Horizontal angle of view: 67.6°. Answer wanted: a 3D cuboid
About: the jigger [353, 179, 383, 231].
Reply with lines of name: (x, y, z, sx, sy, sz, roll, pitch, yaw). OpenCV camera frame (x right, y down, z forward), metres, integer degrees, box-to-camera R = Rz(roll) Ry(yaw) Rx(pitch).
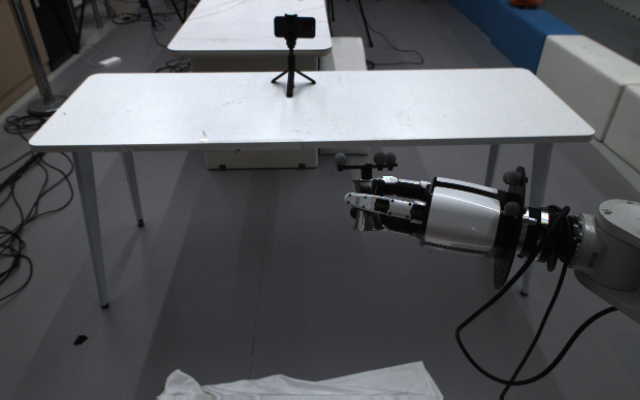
jigger: (0.063, 0.005, 0.656, 0.043, 0.071, 0.043, -2, 3, 0)
